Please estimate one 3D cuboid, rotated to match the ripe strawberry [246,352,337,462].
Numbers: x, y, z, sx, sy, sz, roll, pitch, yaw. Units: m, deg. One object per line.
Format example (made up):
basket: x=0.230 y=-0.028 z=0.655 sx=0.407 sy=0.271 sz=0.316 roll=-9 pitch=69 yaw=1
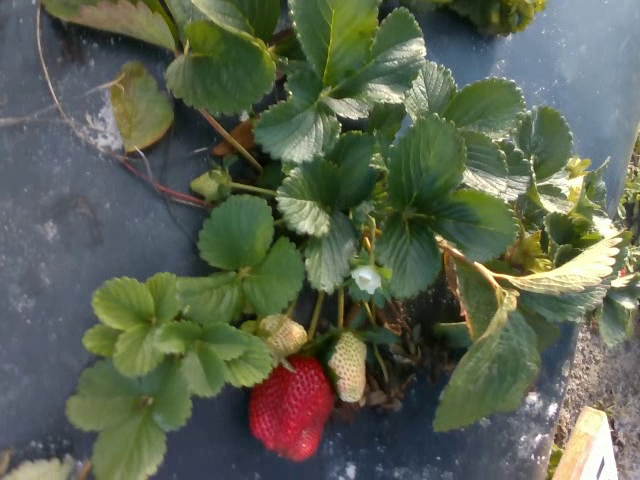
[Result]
ripe strawberry: x=-0.016 y=0.107 z=0.365 sx=0.057 sy=0.058 sz=0.071 roll=-6 pitch=34 yaw=21
